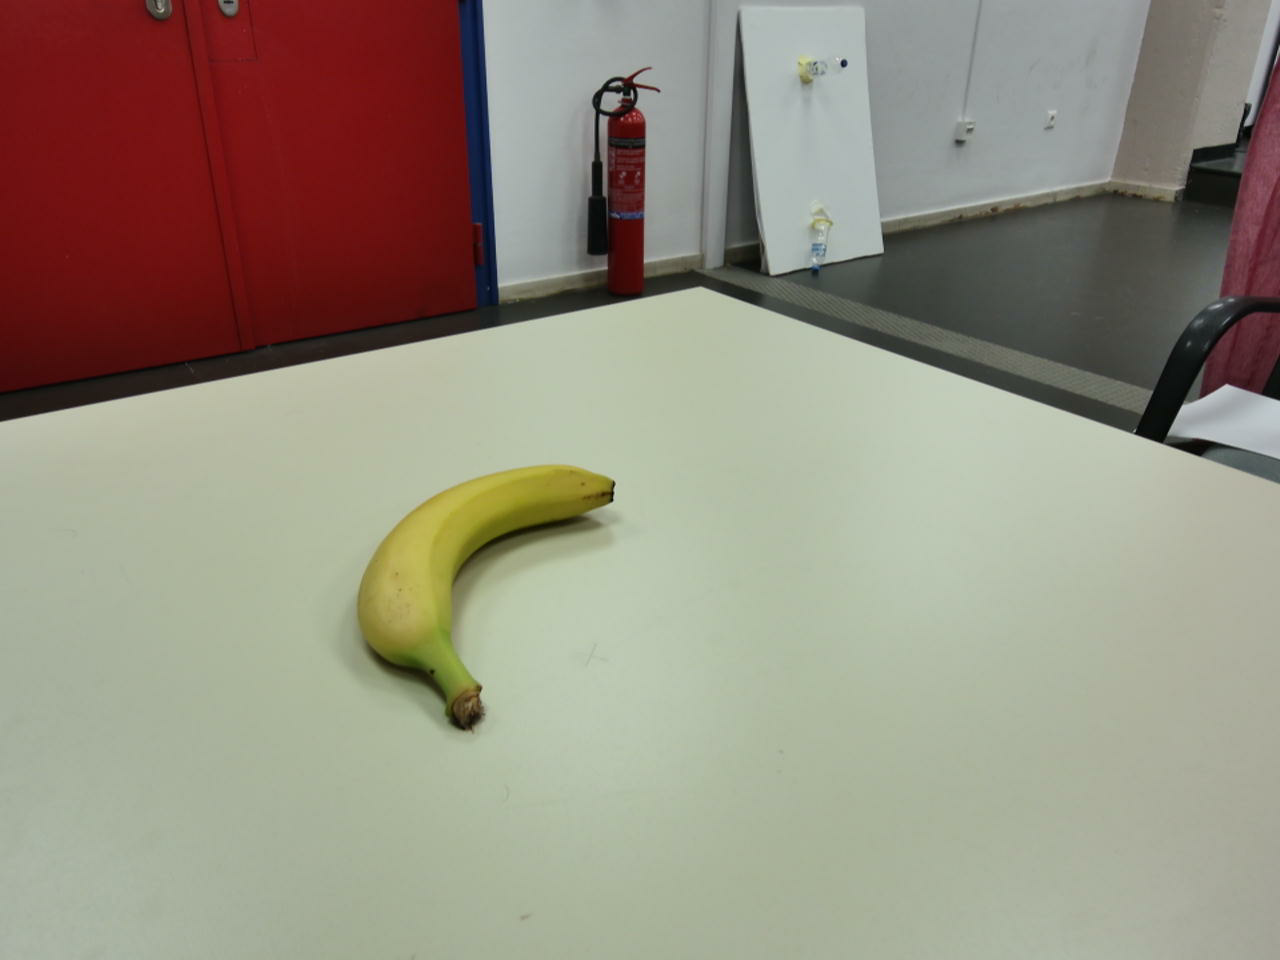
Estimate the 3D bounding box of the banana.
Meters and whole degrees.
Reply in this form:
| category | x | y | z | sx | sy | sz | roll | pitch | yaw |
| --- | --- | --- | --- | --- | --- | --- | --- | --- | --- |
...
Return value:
| category | x | y | z | sx | sy | sz | roll | pitch | yaw |
| --- | --- | --- | --- | --- | --- | --- | --- | --- | --- |
| banana | -0.083 | 0.039 | 0.494 | 0.094 | 0.041 | 0.196 | 8 | 26 | 15 |
